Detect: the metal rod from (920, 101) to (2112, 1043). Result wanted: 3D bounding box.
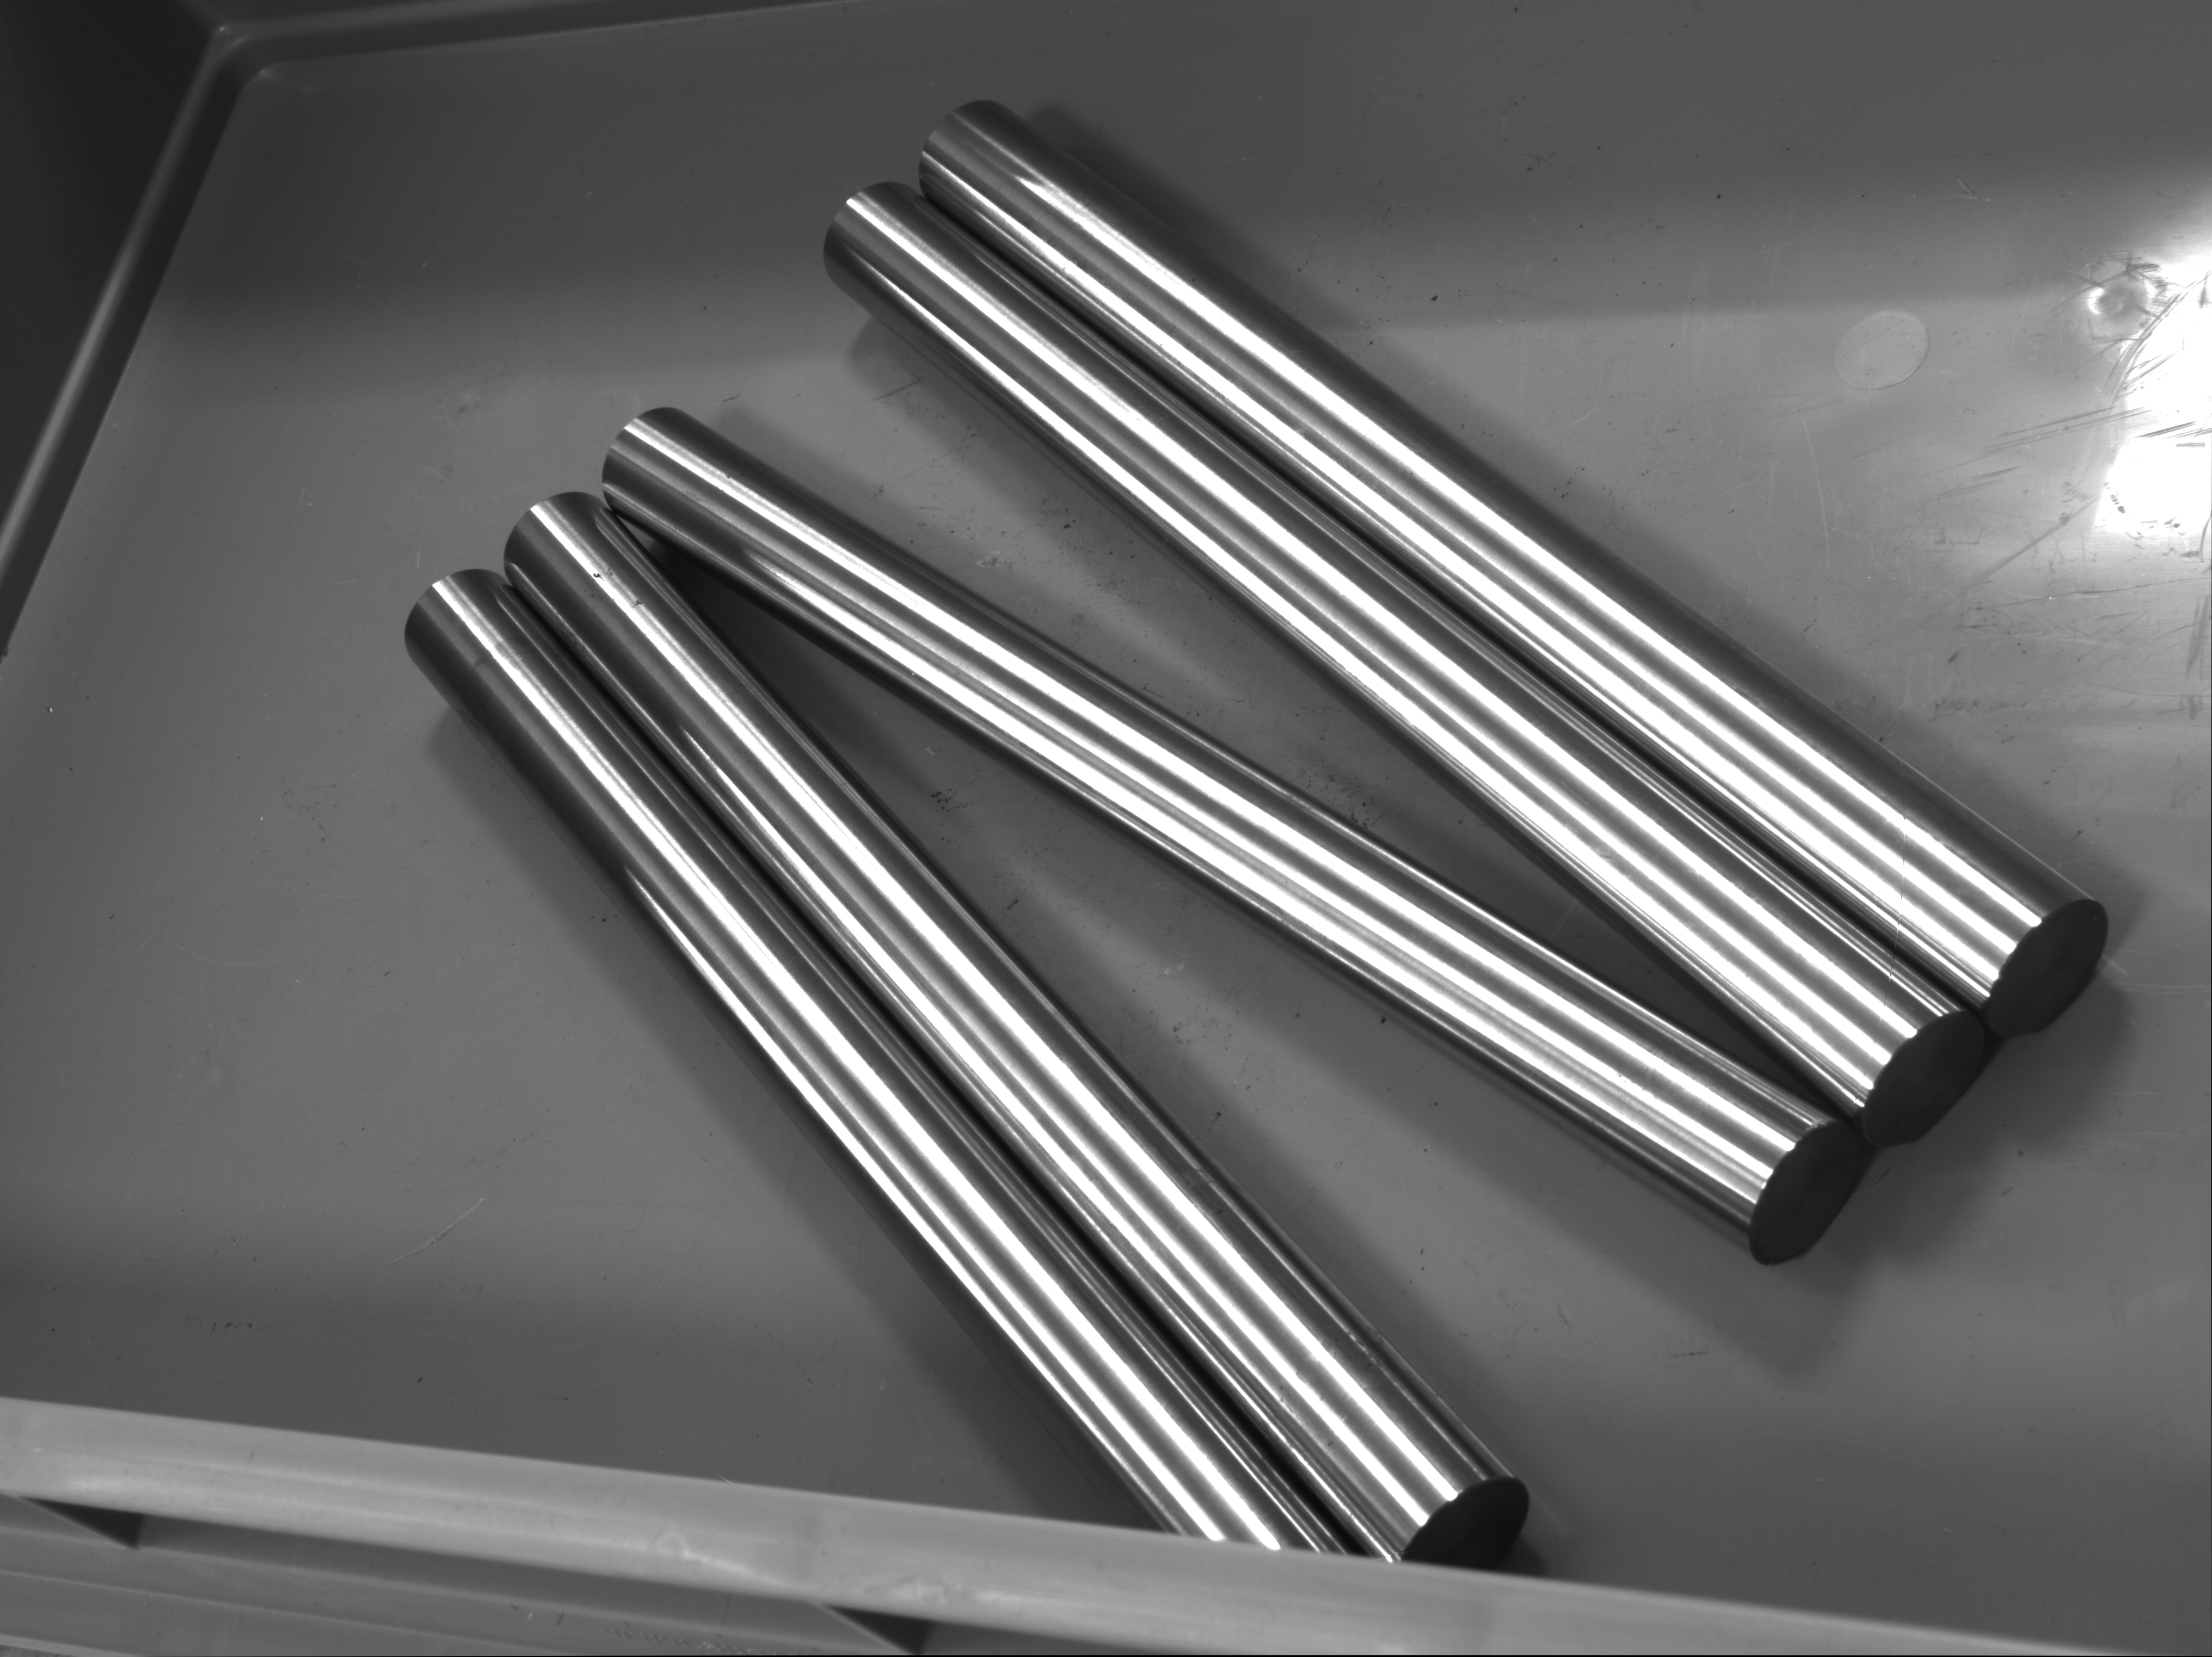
[{"bbox_3d":[0.058,-0.057,0.648,0.025,0.025,0.299,-45,51,-3],"label":"metal rod"}]

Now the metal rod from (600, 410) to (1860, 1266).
[{"bbox_3d":[0.007,-0.009,0.645,0.299,0.025,0.025,33,80,38],"label":"metal rod"}]

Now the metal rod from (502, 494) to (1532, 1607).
[{"bbox_3d":[-0.028,0.025,0.643,0.025,0.025,0.299,-44,51,-2],"label":"metal rod"}]

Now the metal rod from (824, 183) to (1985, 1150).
[{"bbox_3d":[0.039,-0.040,0.648,0.025,0.025,0.299,-45,51,-3],"label":"metal rod"}]

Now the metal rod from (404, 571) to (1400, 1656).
[{"bbox_3d":[-0.048,0.041,0.645,0.025,0.025,0.299,-44,51,-2],"label":"metal rod"}]
